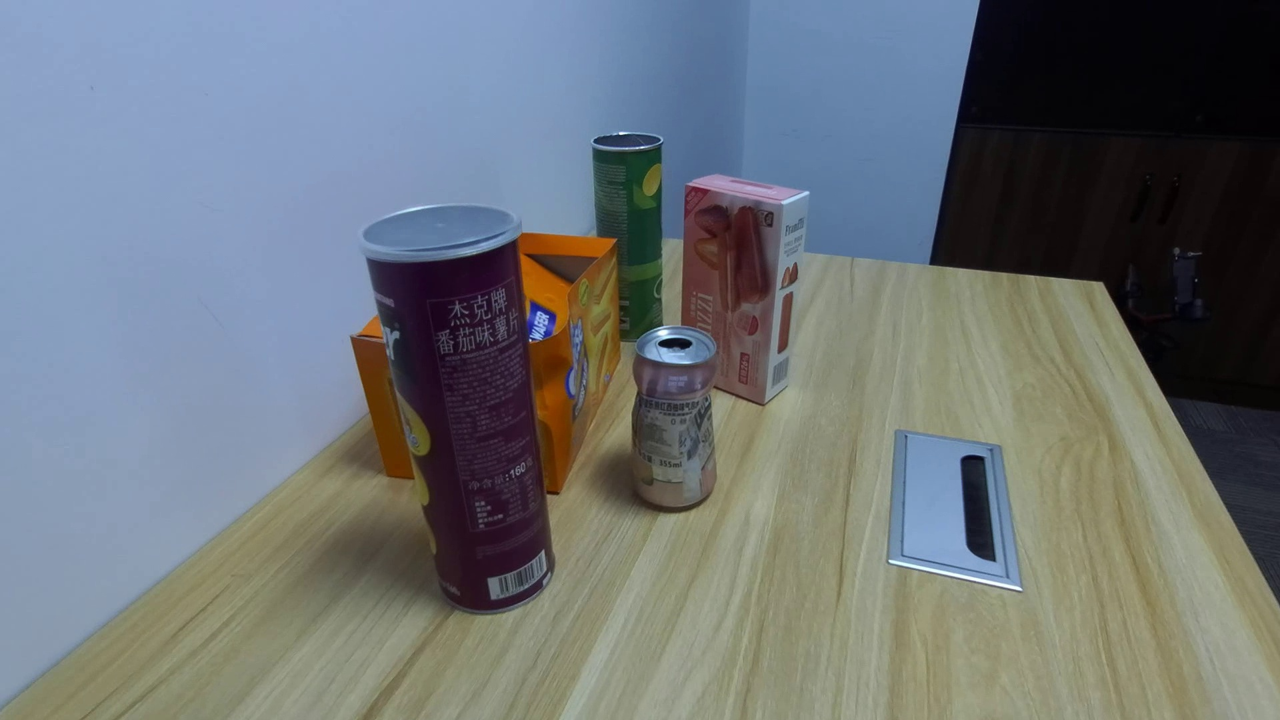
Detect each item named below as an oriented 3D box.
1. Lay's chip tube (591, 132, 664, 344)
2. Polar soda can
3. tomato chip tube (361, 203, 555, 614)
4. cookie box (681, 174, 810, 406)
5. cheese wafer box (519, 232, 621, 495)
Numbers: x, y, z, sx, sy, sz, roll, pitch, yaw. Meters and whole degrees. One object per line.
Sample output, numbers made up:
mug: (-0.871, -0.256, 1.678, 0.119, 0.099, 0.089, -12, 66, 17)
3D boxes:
Lay's chip tube: (-0.010, -0.124, 0.722, 0.071, 0.203, 0.071, 0, 30, 0)
Polar soda can: (0.027, 0.042, 0.509, 0.074, 0.122, 0.067, -21, 35, -31)
tomato chip tube: (-0.096, 0.036, 0.408, 0.078, 0.234, 0.078, -1, 29, 1)
cookie box: (0.087, -0.061, 0.624, 0.095, 0.185, 0.048, 19, 33, 32)
cheese wafer box: (-0.108, -0.007, 0.600, 0.152, 0.132, 0.230, 6, 29, 10)
